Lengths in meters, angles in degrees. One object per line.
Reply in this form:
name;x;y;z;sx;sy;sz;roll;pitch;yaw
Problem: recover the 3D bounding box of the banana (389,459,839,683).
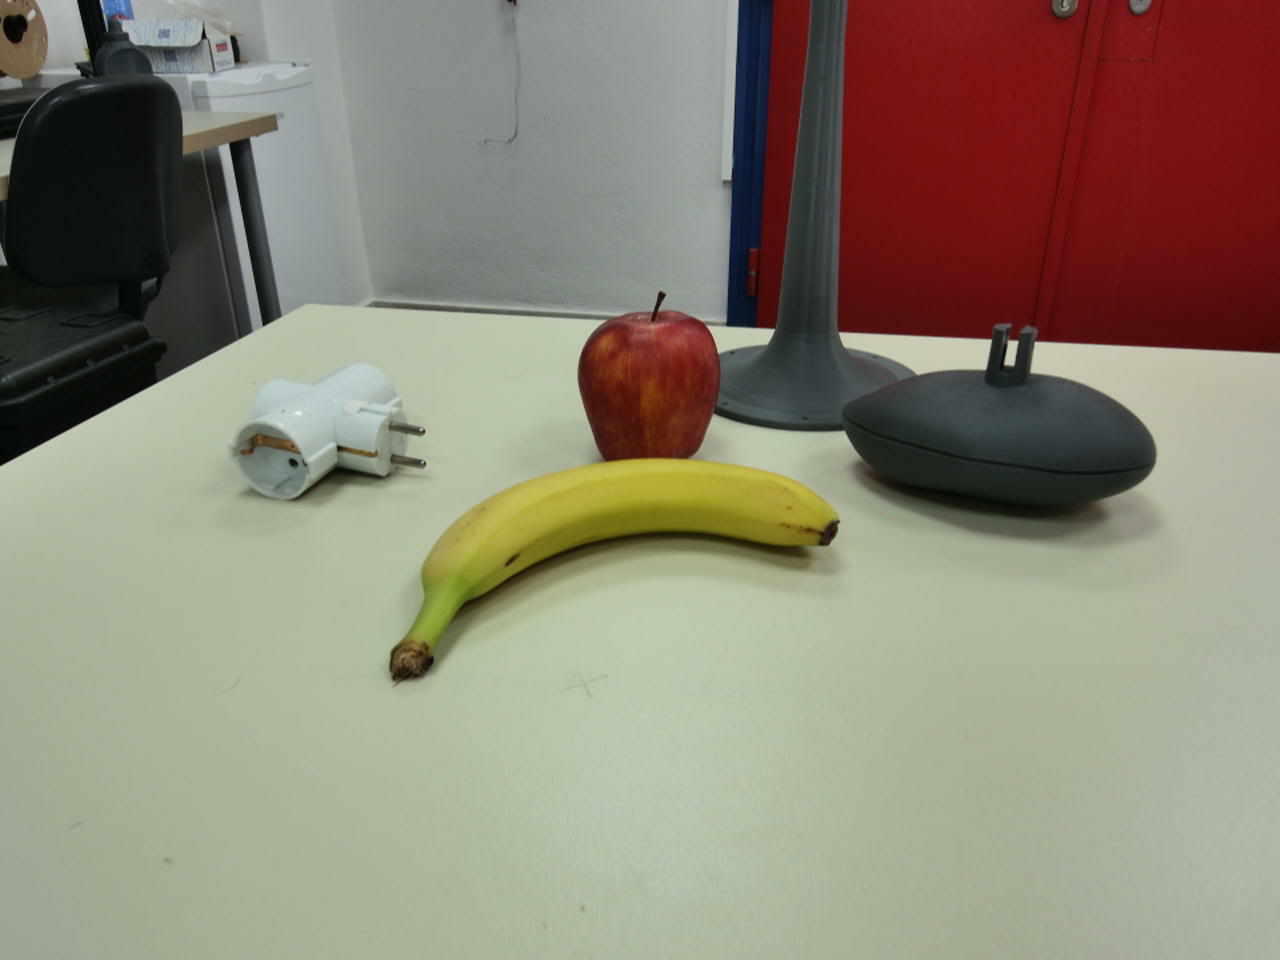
banana;-0.018;0.023;0.432;0.196;0.041;0.094;-10;26;-21
